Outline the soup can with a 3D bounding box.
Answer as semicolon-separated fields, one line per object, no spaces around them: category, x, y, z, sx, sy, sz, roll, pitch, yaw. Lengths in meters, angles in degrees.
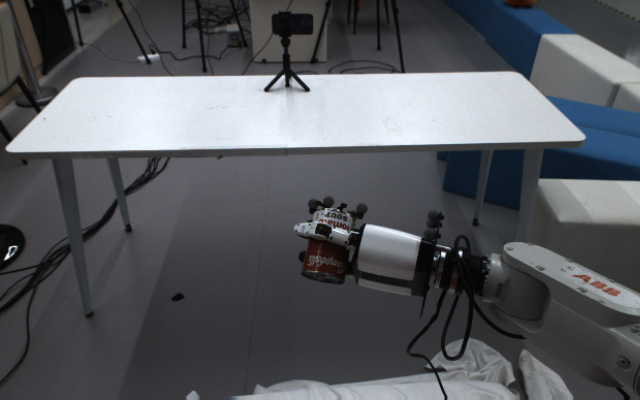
soup can;0.014;0.071;0.736;0.067;0.067;0.101;9;71;9
